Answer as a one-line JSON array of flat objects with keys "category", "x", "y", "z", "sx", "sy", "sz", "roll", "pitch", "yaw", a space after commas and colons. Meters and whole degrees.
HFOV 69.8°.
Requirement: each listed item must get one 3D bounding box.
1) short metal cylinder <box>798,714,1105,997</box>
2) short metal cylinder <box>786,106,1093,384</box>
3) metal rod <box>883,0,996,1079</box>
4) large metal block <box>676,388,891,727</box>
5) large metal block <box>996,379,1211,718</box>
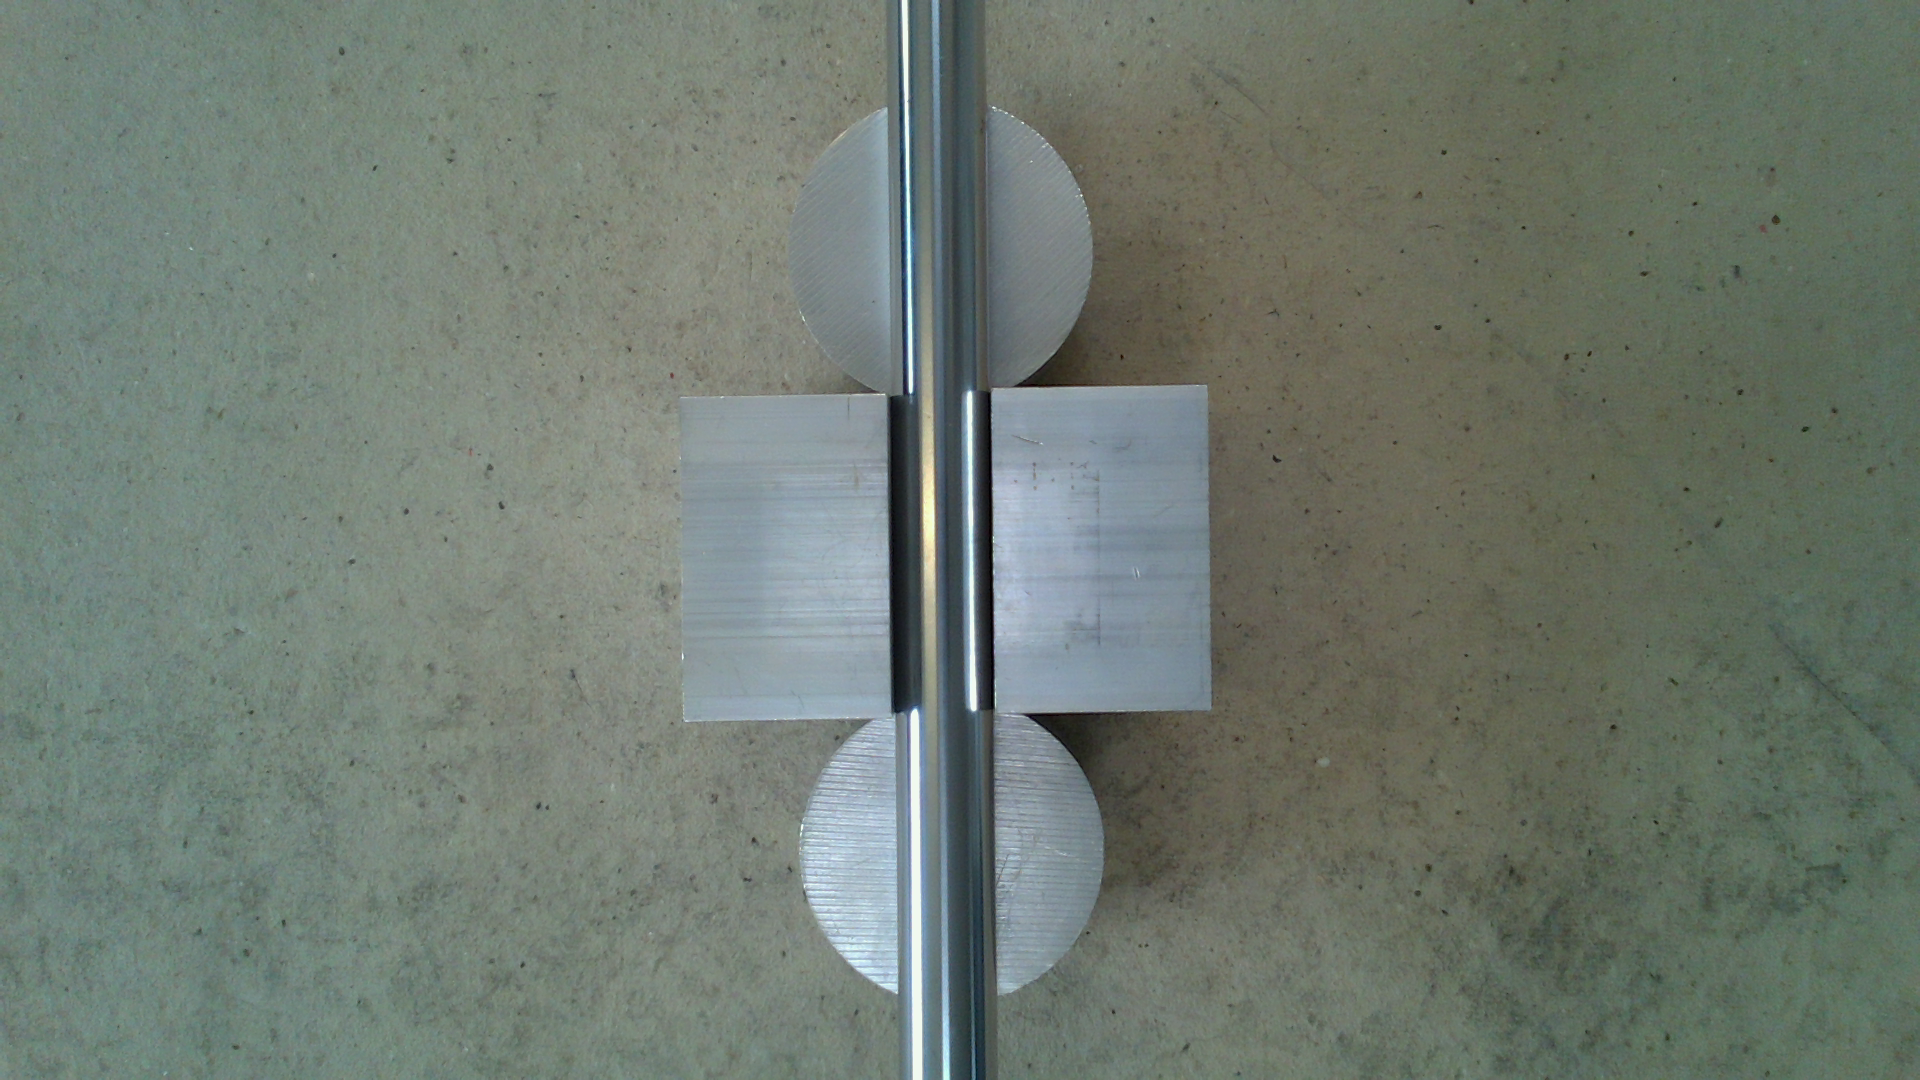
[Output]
[{"category": "short metal cylinder", "x": -0.002, "y": 0.082, "z": 0.384, "sx": 0.080, "sy": 0.050, "sz": 0.080, "roll": 0, "pitch": 90, "yaw": 0}, {"category": "short metal cylinder", "x": -0.005, "y": -0.075, "z": 0.383, "sx": 0.080, "sy": 0.050, "sz": 0.080, "roll": 0, "pitch": 90, "yaw": 0}, {"category": "metal rod", "x": -0.005, "y": 0.015, "z": 0.345, "sx": 0.025, "sy": 0.025, "sz": 0.300, "roll": -1, "pitch": 90, "yaw": 0}, {"category": "large metal block", "x": -0.042, "y": 0.004, "z": 0.368, "sx": 0.050, "sy": 0.080, "sz": 0.080, "roll": -1, "pitch": 90, "yaw": 0}, {"category": "large metal block", "x": 0.034, "y": 0.002, "z": 0.368, "sx": 0.050, "sy": 0.080, "sz": 0.080, "roll": -1, "pitch": 90, "yaw": 0}]
